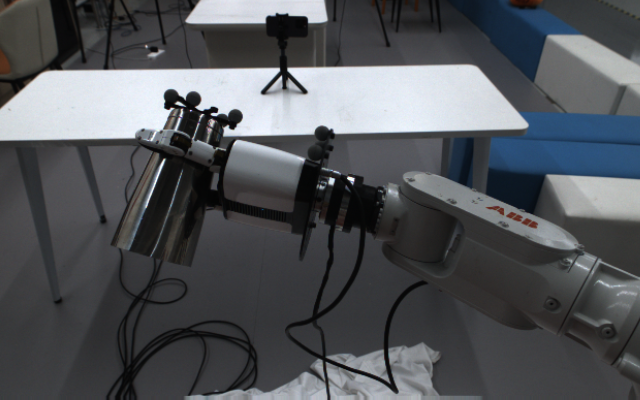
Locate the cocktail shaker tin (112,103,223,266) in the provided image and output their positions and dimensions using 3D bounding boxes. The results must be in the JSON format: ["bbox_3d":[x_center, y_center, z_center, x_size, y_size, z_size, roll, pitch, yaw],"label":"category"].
[{"bbox_3d":[-0.167,-0.017,0.568,0.093,0.093,0.170,13,79,15],"label":"cocktail shaker tin"}]
